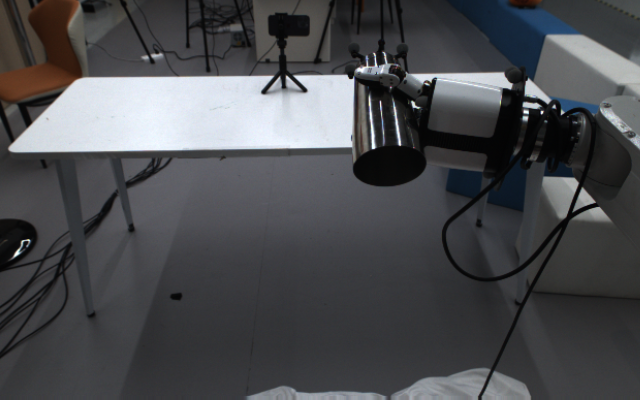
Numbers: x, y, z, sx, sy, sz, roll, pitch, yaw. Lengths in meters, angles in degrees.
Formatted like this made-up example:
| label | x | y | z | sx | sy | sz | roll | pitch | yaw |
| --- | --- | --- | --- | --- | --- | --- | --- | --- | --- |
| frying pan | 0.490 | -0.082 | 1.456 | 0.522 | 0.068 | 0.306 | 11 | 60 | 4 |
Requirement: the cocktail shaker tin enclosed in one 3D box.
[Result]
| label | x | y | z | sx | sy | sz | roll | pitch | yaw |
| --- | --- | --- | --- | --- | --- | --- | --- | --- | --- |
| cocktail shaker tin | 0.084 | -0.115 | 0.643 | 0.093 | 0.093 | 0.170 | 0 | 59 | -3 |
